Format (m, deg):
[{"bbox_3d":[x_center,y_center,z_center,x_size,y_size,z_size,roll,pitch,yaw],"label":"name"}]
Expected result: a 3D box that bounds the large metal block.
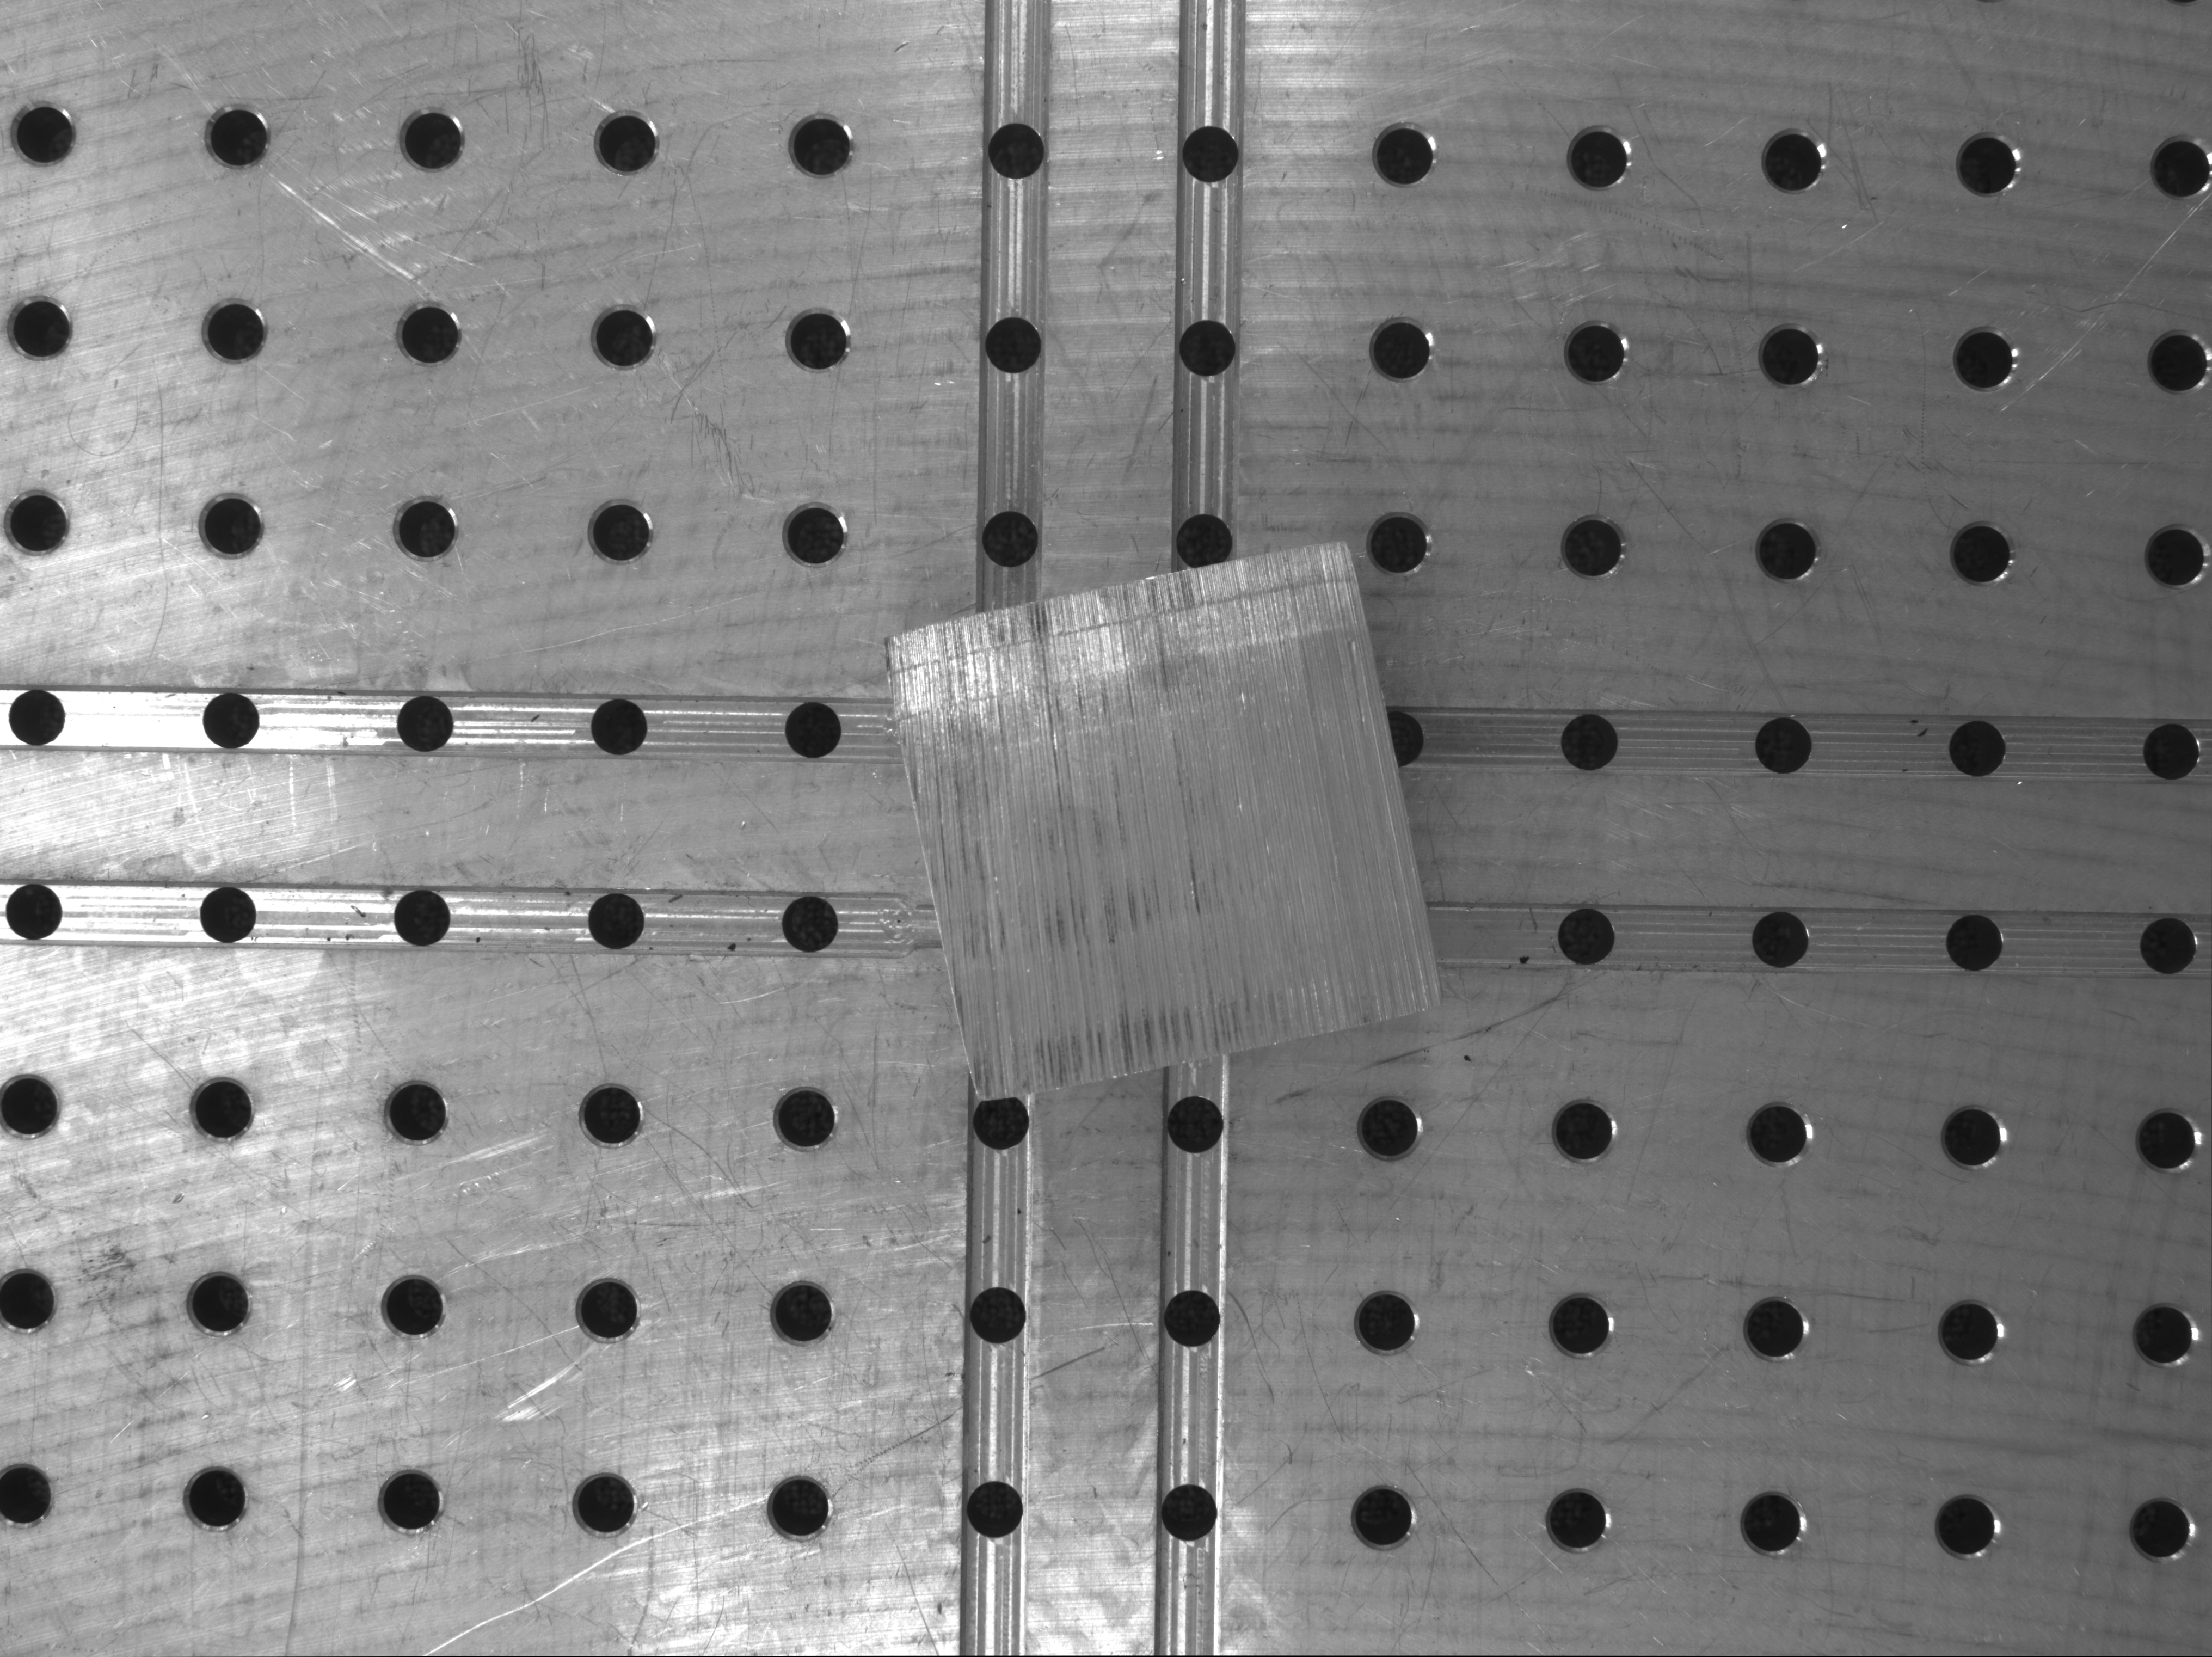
[{"bbox_3d":[0.009,-0.001,0.635,0.080,0.050,0.080,-12,90,0],"label":"large metal block"}]
